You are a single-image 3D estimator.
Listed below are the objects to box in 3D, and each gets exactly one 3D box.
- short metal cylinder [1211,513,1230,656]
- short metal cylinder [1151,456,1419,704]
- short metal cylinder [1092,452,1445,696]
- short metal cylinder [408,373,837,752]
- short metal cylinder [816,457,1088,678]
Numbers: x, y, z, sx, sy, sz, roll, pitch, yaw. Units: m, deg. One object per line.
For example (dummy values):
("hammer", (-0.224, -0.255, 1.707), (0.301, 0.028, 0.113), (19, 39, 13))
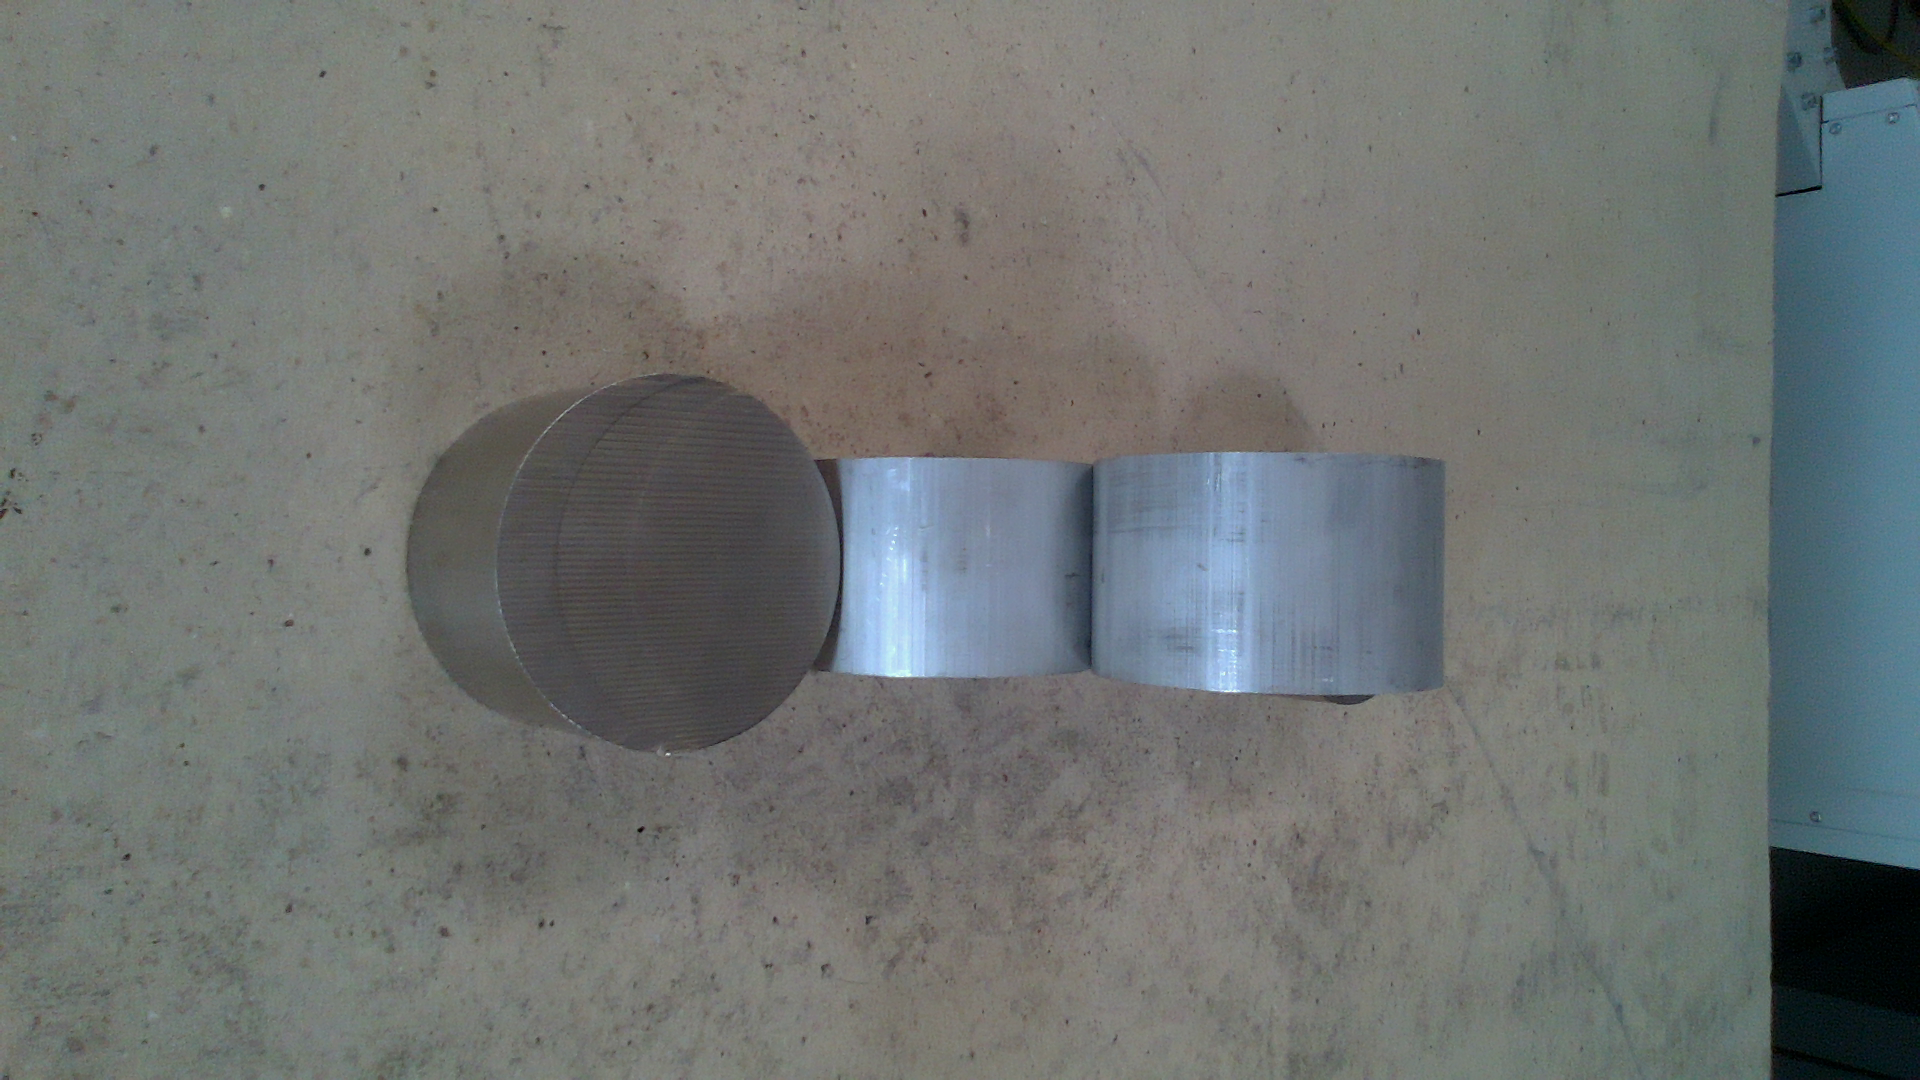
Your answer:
("short metal cylinder", (0.058, 0.007, 0.402), (0.080, 0.080, 0.050), (0, 89, -40))
("short metal cylinder", (0.110, 0.013, 0.464), (0.080, 0.050, 0.080), (0, 91, -40))
("short metal cylinder", (0.071, 0.007, 0.323), (0.080, 0.080, 0.050), (1, 91, -40))
("short metal cylinder", (-0.075, 0.005, 0.310), (0.080, 0.050, 0.080), (0, 90, -40))
("short metal cylinder", (-0.004, 0.006, 0.350), (0.080, 0.080, 0.050), (0, 90, -40))
